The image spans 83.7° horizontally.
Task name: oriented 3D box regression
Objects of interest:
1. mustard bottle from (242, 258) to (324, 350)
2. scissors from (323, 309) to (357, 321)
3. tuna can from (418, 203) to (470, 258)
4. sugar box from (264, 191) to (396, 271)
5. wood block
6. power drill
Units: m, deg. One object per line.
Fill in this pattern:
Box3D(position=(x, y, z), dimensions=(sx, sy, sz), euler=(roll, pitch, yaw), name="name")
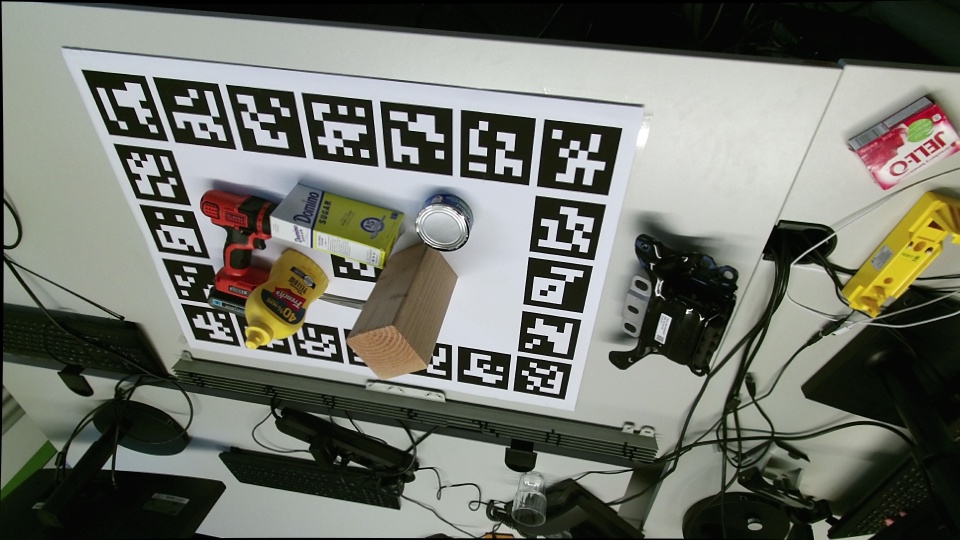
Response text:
Box3D(position=(-0.334, 0.065, 0.881), dimensions=(0.058, 0.191, 0.096), euler=(-30, 113, 27), name="mustard bottle")
Box3D(position=(-0.186, 0.089, 0.964), dimensions=(0.203, 0.016, 0.088), euler=(9, 130, 5), name="scissors")
Box3D(position=(-0.060, -0.059, 0.821), dimensions=(0.086, 0.033, 0.086), euler=(6, 125, 8), name="tuna can")
Box3D(position=(-0.228, -0.059, 0.825), dimensions=(0.177, 0.092, 0.045), euler=(18, 129, 1), name="sugar box")
Box3D(position=(-0.117, 0.065, 0.829), dimensions=(0.091, 0.205, 0.090), euler=(-18, 118, 22), name="wood block")
Box3D(position=(-0.369, -0.015, 0.904), dimensions=(0.185, 0.057, 0.187), euler=(18, 119, -2), name="power drill")
